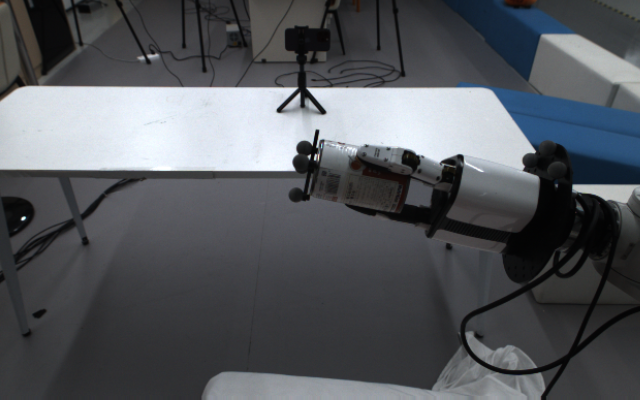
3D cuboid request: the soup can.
[{"bbox_3d":[0.047,-0.027,0.543,0.101,0.067,0.067,11,35,-2],"label":"soup can"}]
